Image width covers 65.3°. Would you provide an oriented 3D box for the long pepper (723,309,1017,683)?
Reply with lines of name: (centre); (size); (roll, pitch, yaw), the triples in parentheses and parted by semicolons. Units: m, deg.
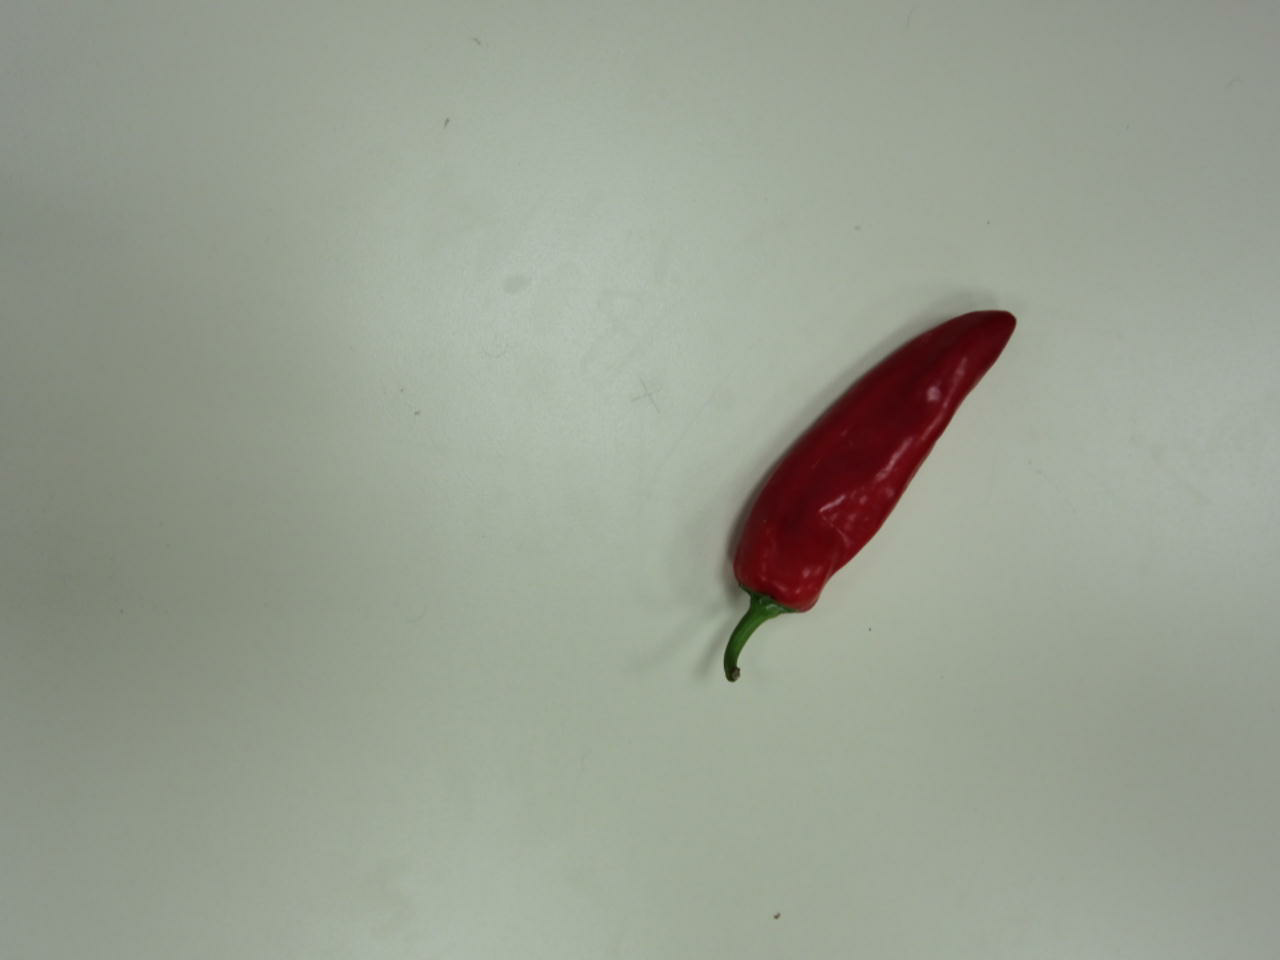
long pepper: (0.094, -0.003, 0.441); (0.050, 0.043, 0.211); (42, 82, -9)
